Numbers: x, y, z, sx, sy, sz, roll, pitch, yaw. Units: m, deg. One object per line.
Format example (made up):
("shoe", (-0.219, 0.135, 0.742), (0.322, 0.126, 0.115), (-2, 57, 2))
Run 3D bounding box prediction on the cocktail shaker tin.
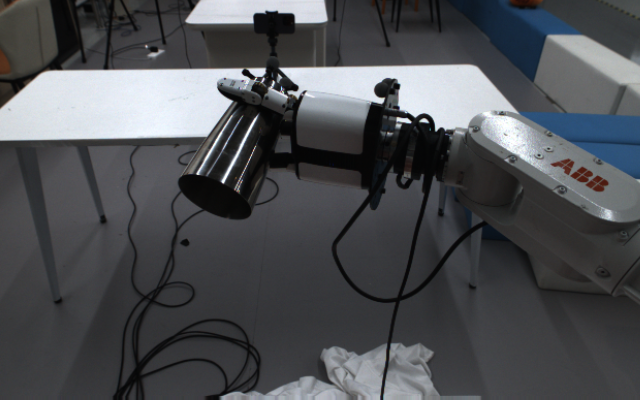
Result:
("cocktail shaker tin", (-0.096, -0.074, 0.603), (0.093, 0.093, 0.170), (13, 59, 15))
